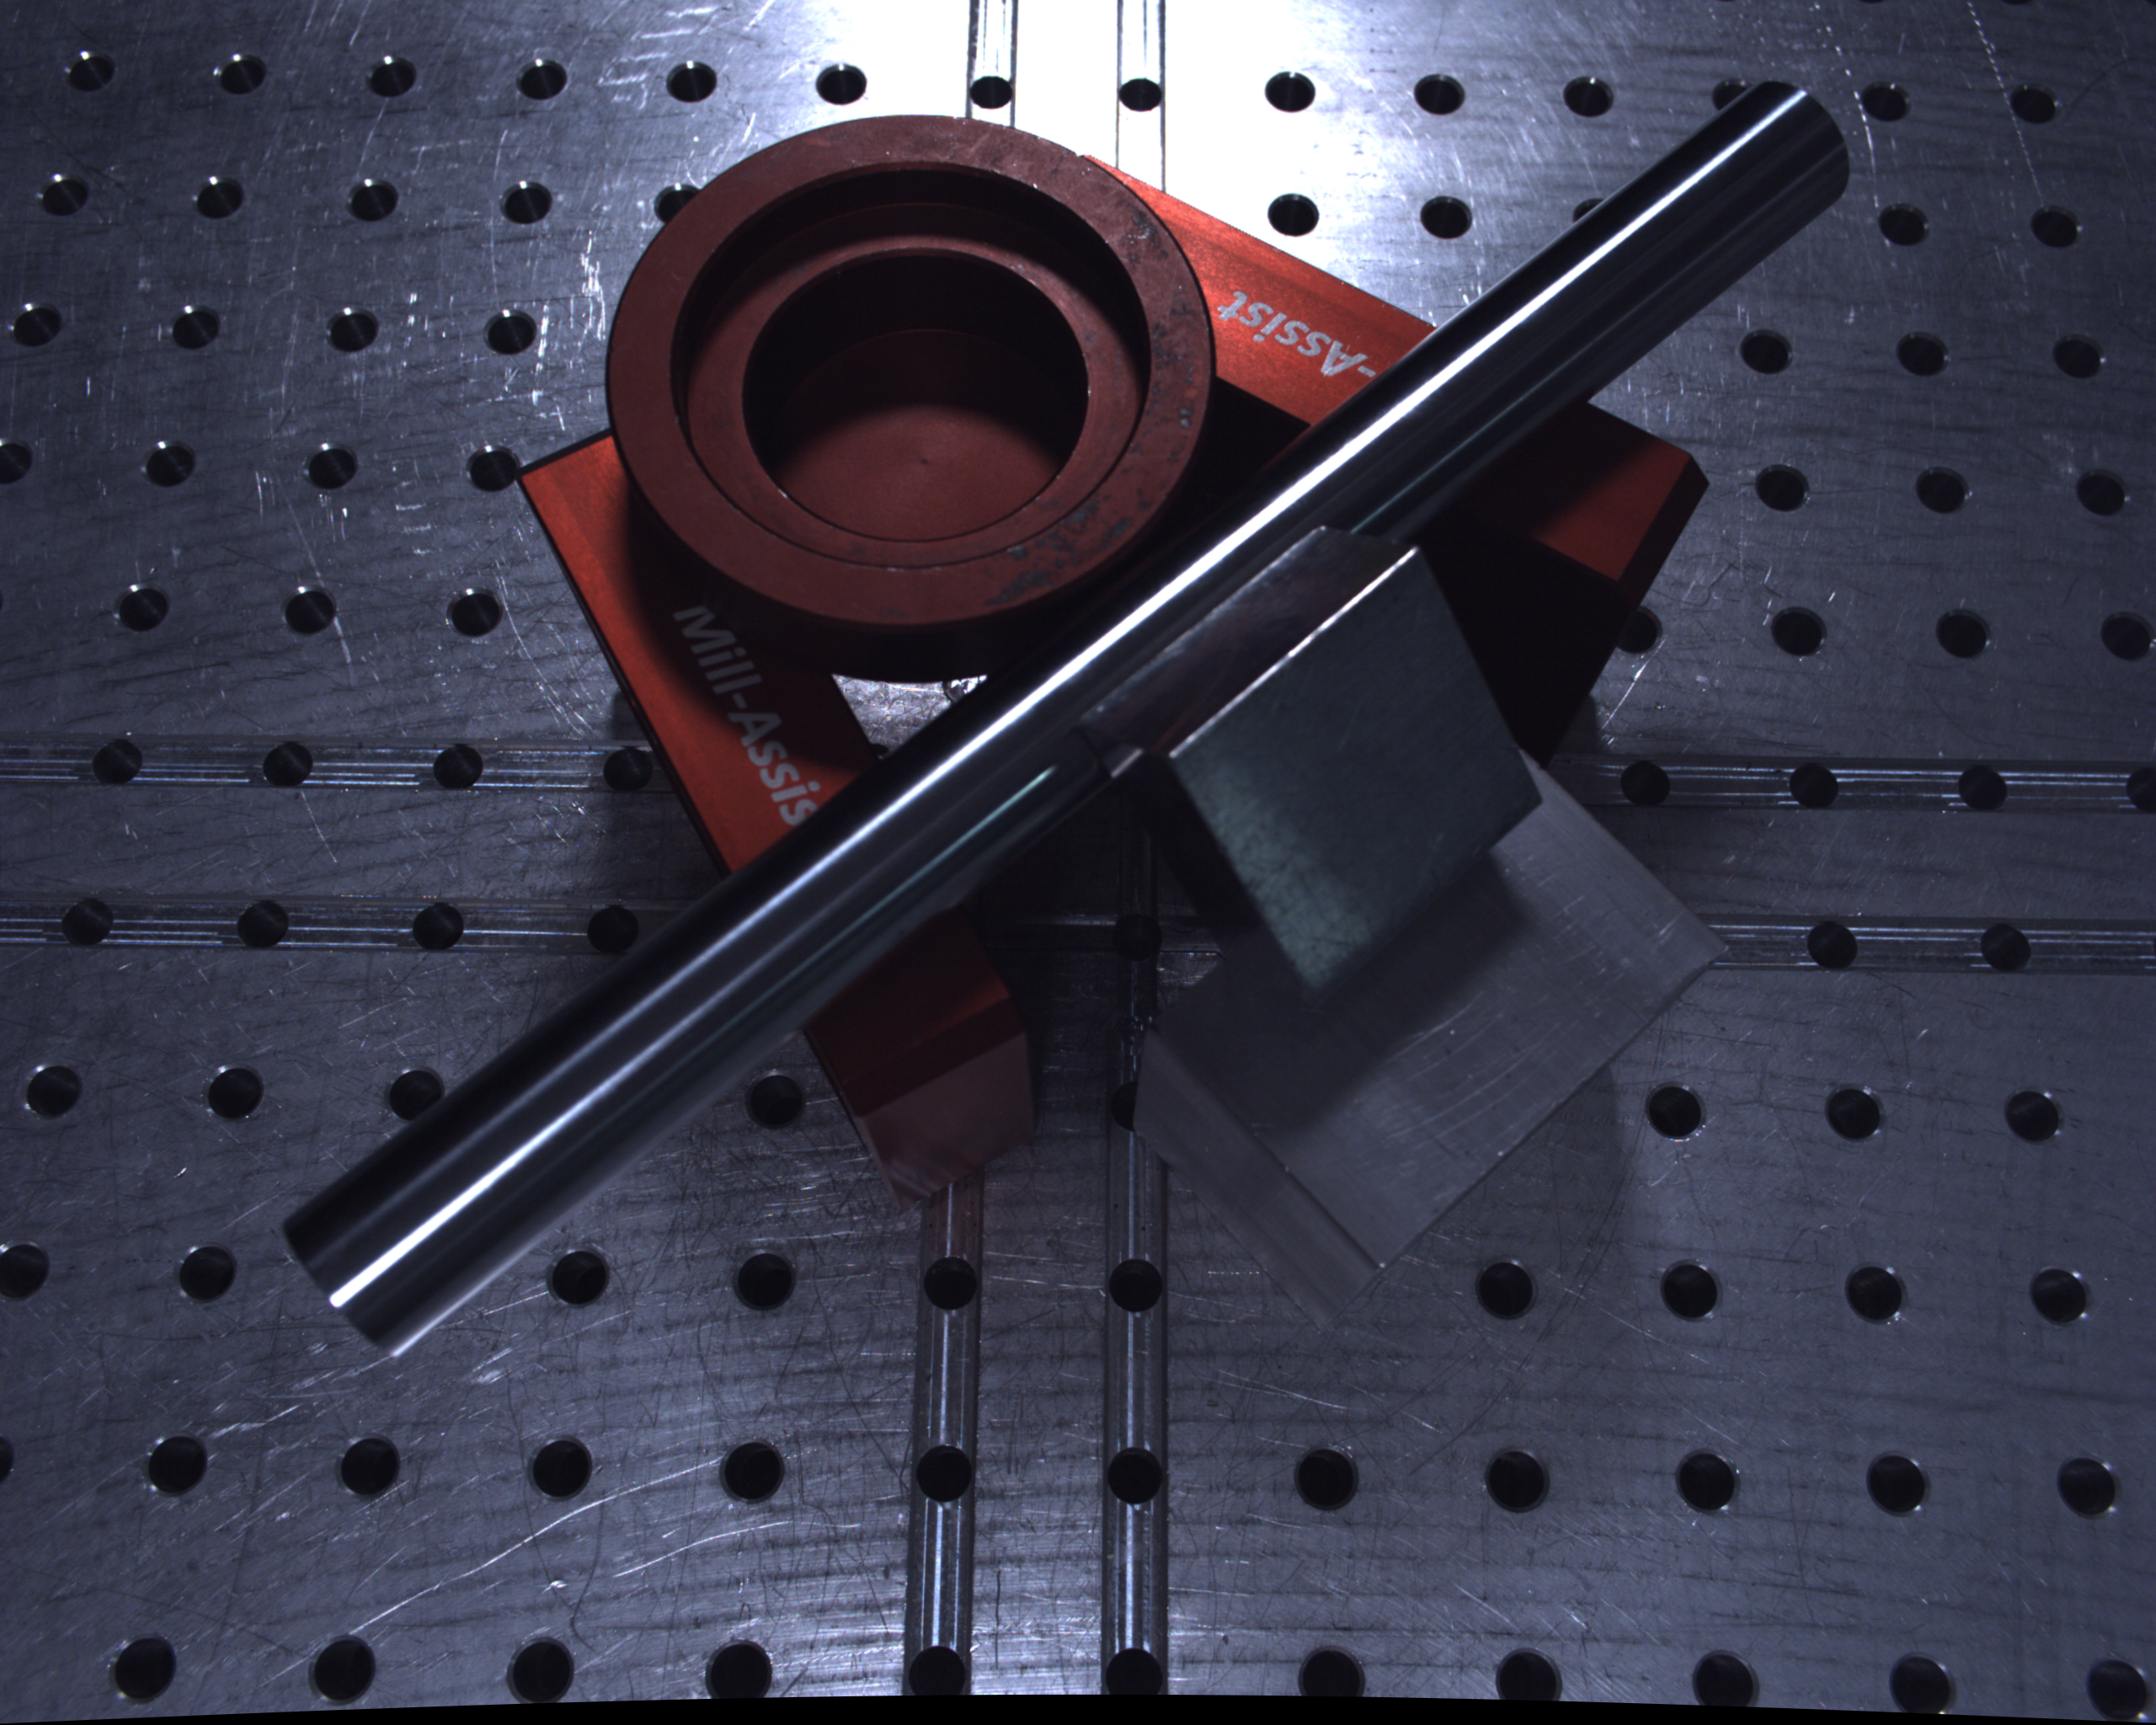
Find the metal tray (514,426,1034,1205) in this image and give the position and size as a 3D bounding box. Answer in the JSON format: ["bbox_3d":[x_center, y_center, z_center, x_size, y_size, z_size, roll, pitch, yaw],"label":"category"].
[{"bbox_3d":[-0.053,-0.008,0.379,0.030,0.090,0.130,-28,73,-10],"label":"metal tray"}]

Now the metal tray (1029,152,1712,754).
[{"bbox_3d":[0.046,-0.073,0.403,0.130,0.090,0.030,30,74,10],"label":"metal tray"}]

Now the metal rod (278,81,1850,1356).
[{"bbox_3d":[0.010,-0.032,0.328,0.301,0.025,0.025,-39,75,-13],"label":"metal rod"}]

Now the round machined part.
[{"bbox_3d":[-0.027,-0.075,0.357,0.099,0.042,0.098,0,70,-1],"label":"round machined part"}]

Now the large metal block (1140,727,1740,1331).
[{"bbox_3d":[0.059,0.032,0.368,0.080,0.080,0.050,-40,75,-13],"label":"large metal block"}]

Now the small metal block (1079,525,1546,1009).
[{"bbox_3d":[0.037,-0.015,0.317,0.050,0.050,0.025,-41,31,-14],"label":"small metal block"}]
